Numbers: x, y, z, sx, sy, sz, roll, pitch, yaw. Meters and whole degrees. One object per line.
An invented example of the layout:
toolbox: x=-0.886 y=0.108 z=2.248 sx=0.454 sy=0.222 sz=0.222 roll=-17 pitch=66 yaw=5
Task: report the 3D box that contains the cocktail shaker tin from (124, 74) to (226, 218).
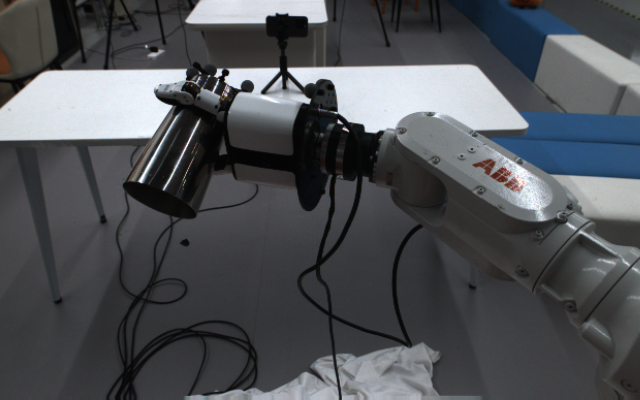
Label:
cocktail shaker tin: x=-0.164 y=-0.074 z=0.610 sx=0.093 sy=0.093 sz=0.170 roll=12 pitch=66 yaw=14
